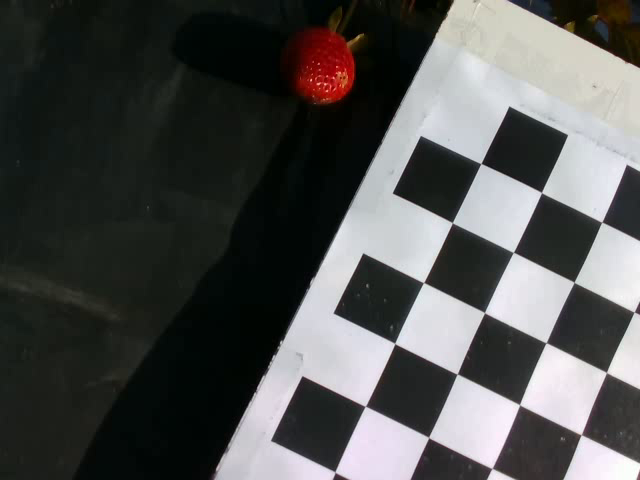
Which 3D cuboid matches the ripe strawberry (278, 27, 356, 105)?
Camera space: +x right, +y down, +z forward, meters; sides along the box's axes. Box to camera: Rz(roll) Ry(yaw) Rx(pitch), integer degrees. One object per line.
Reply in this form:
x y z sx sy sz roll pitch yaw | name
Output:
-0.002 -0.053 0.288 0.034 0.033 0.038 25 29 2 | ripe strawberry
